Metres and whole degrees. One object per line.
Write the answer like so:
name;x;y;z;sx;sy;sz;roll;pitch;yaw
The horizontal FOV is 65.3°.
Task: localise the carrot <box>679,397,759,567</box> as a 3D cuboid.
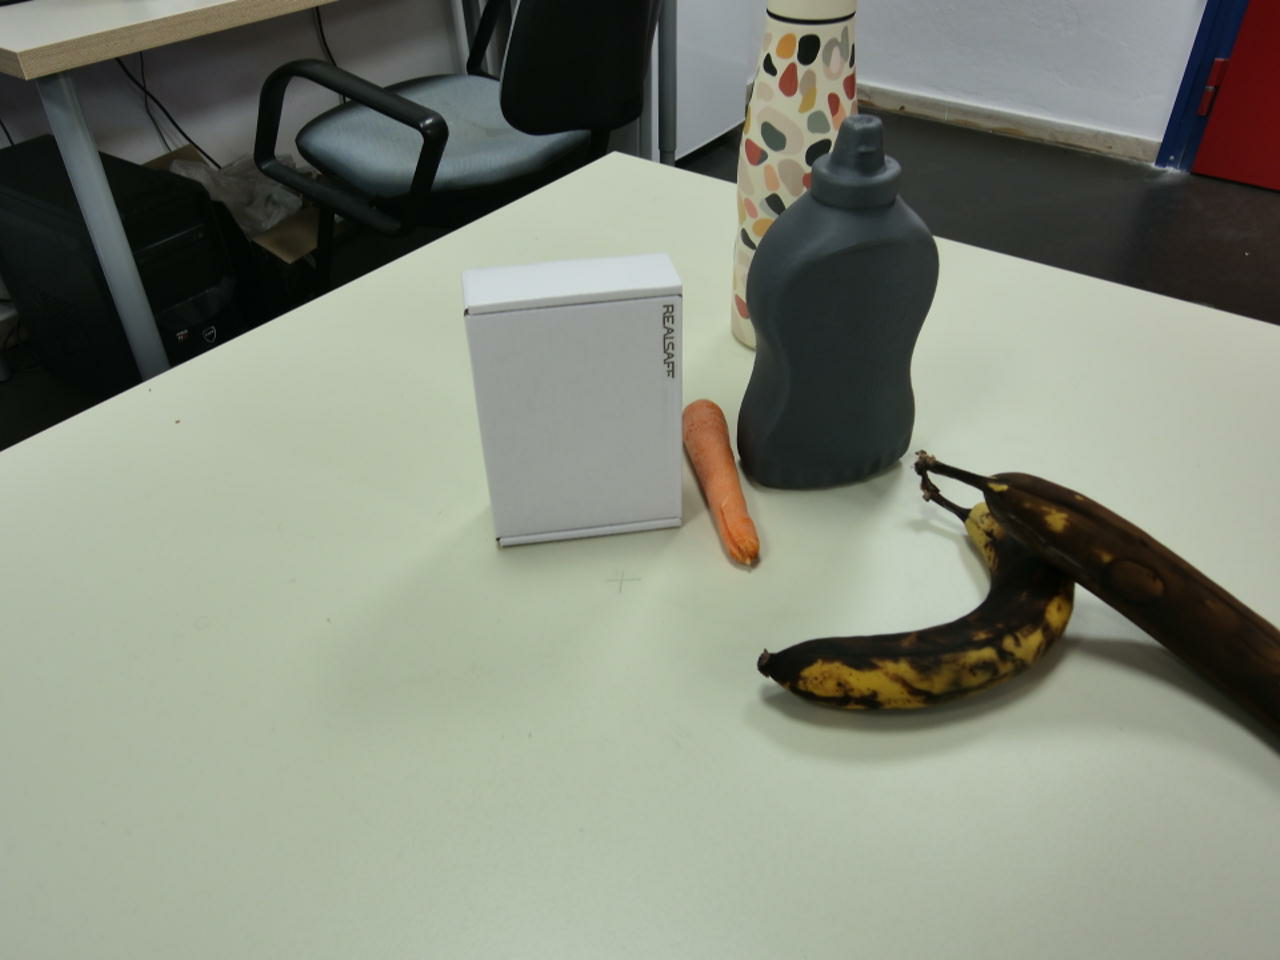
carrot;0.045;-0.003;0.574;0.030;0.032;0.136;-5;37;-6
